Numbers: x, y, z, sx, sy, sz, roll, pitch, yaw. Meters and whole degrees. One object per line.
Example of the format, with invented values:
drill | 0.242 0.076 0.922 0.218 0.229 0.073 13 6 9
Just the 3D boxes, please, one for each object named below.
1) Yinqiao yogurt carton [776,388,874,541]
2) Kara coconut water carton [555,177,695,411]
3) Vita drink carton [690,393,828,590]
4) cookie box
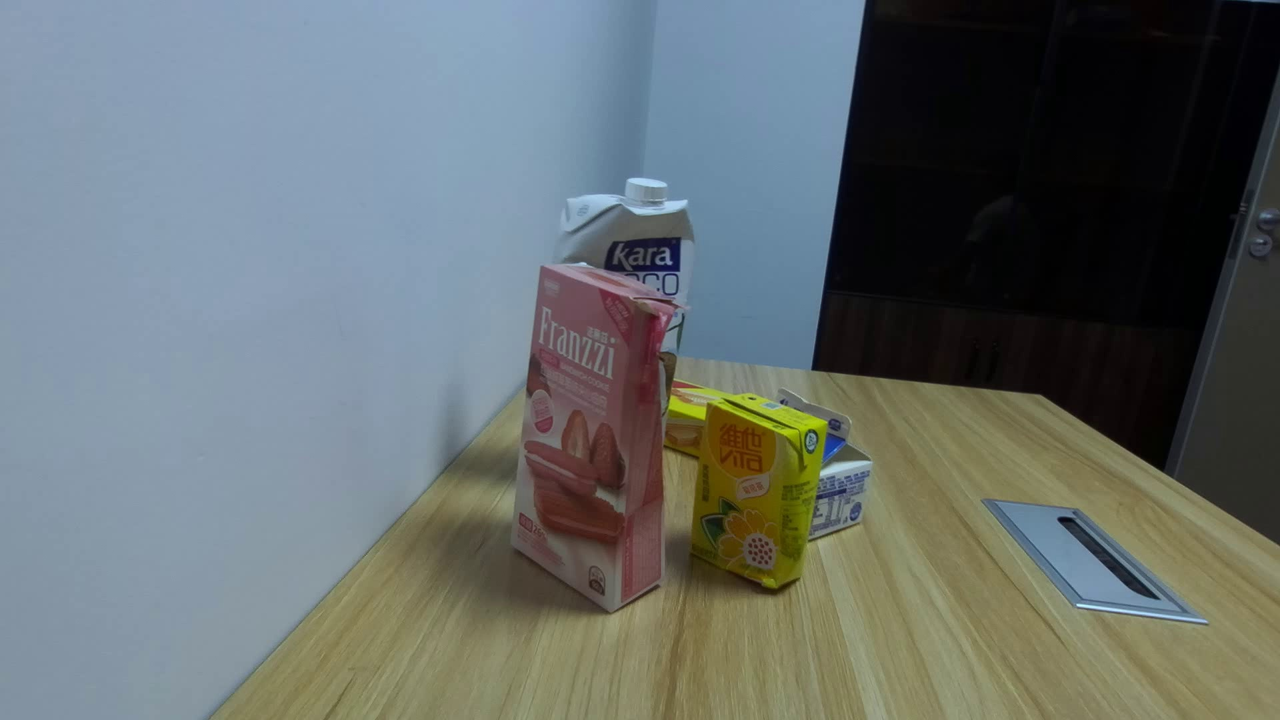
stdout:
Yinqiao yogurt carton | 0.124 0.074 0.531 0.074 0.092 0.075 -6 19 -38
Kara coconut water carton | -0.016 -0.018 0.544 0.116 0.238 0.069 -8 21 -39
Vita drink carton | 0.075 0.083 0.442 0.043 0.109 0.076 -9 21 -40
cookie box | -0.024 0.043 0.416 0.056 0.184 0.118 -7 20 -40
